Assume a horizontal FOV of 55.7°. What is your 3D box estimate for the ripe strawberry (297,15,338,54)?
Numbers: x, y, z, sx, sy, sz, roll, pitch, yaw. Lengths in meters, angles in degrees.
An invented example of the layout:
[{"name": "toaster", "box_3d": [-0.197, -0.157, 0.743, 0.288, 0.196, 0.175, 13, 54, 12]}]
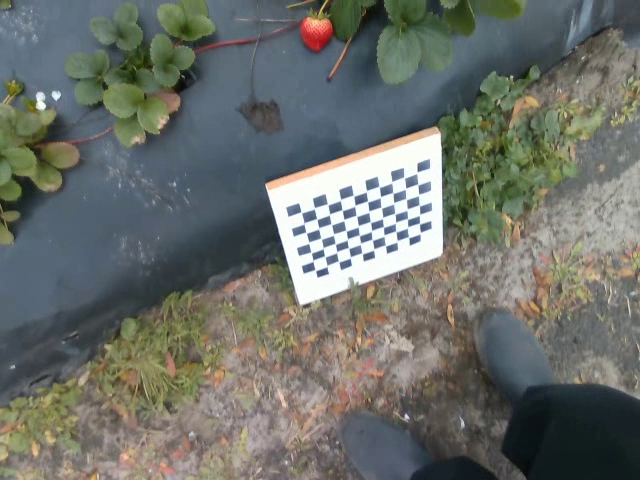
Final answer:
[{"name": "ripe strawberry", "box_3d": [-0.007, -0.349, 1.040, 0.061, 0.065, 0.050, -13, 36, -16]}]
